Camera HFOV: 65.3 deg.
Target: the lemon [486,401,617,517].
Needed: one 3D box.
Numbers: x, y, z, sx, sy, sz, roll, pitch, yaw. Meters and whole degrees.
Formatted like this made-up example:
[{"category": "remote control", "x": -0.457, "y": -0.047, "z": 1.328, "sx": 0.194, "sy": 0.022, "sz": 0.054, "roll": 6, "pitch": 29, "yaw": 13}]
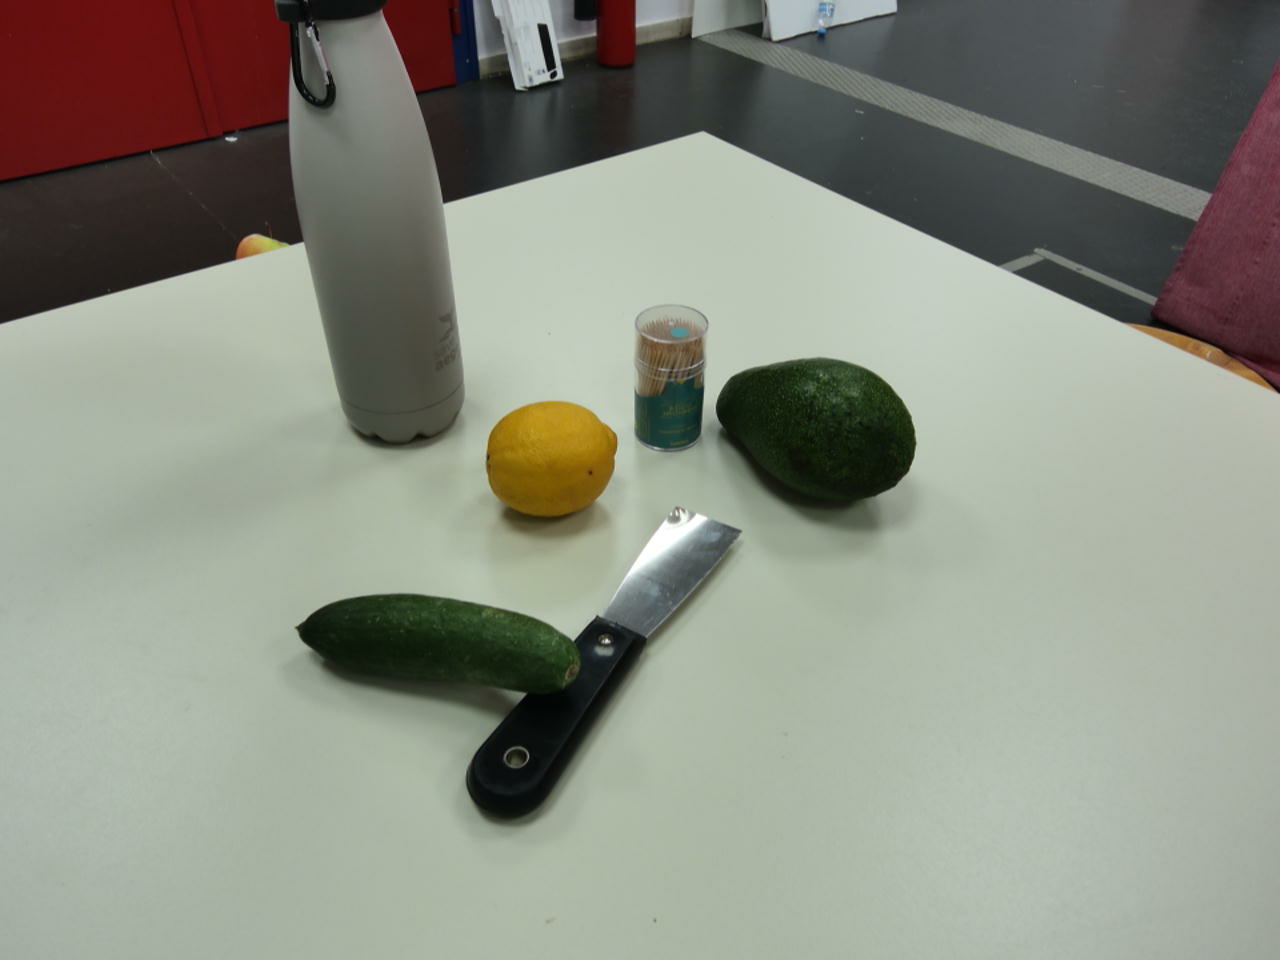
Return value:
[{"category": "lemon", "x": -0.046, "y": -0.011, "z": 0.516, "sx": 0.067, "sy": 0.059, "sz": 0.060, "roll": 3, "pitch": 38, "yaw": 3}]
